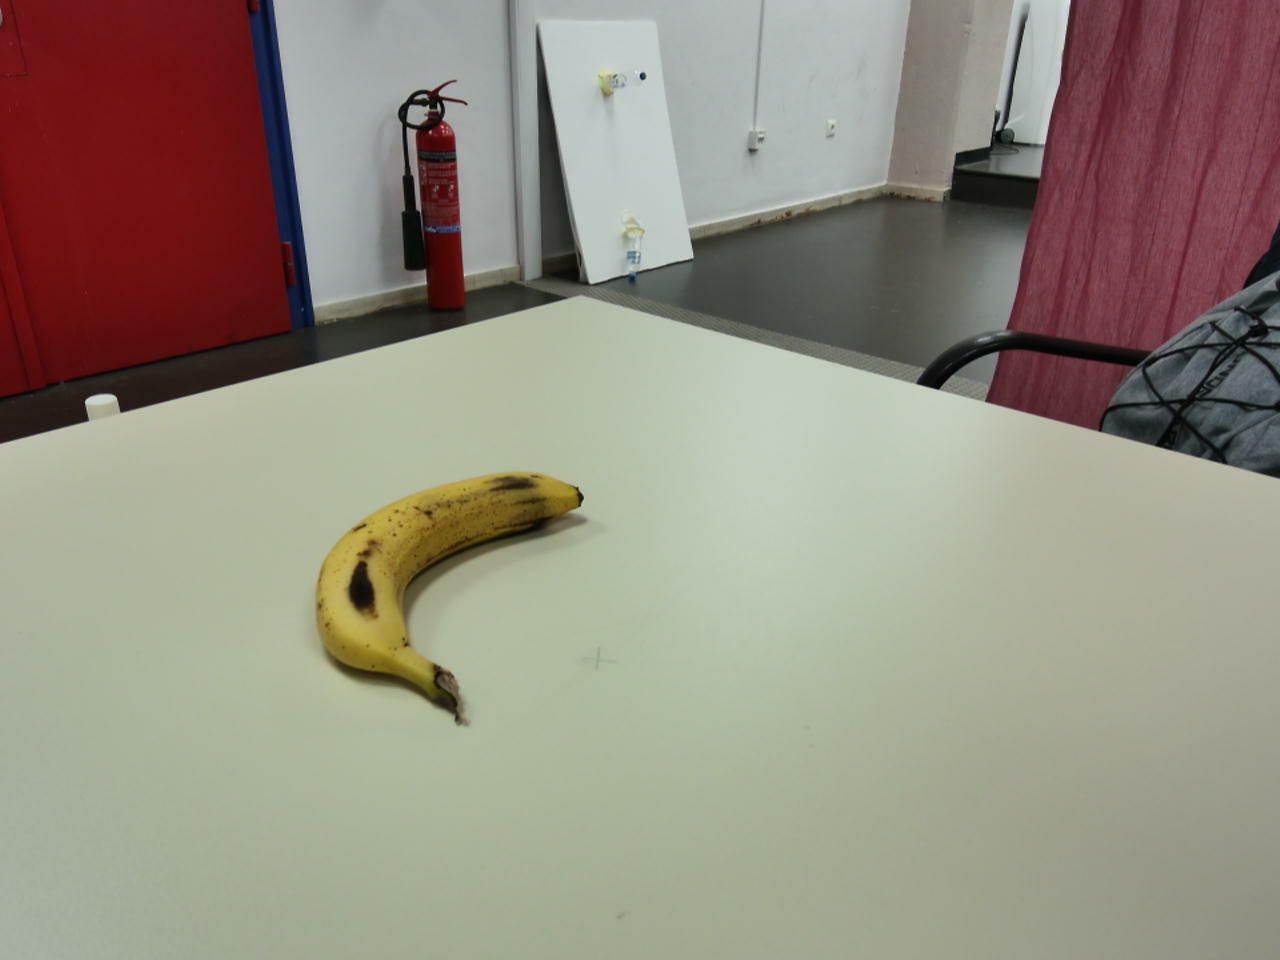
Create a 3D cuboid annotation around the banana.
[{"bbox_3d":[-0.099,0.039,0.499,0.097,0.038,0.186,7,25,12],"label":"banana"}]
